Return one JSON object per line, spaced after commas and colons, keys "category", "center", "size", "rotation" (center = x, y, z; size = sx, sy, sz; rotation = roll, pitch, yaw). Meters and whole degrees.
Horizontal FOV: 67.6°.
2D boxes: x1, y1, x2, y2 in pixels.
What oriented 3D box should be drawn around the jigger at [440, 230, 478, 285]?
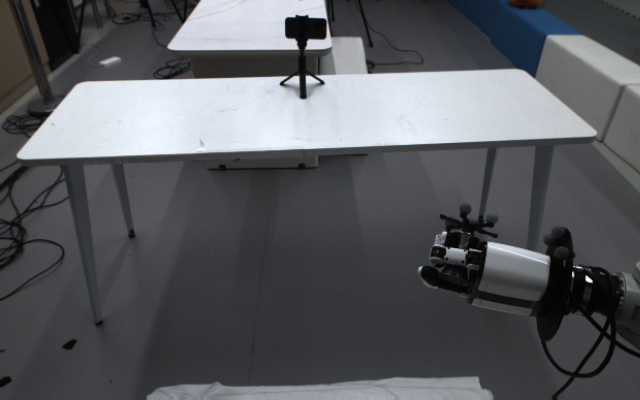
{"category": "jigger", "center": [0.203, 0.081, 0.702], "size": [0.043, 0.043, 0.071], "rotation": [16, 70, 19]}
